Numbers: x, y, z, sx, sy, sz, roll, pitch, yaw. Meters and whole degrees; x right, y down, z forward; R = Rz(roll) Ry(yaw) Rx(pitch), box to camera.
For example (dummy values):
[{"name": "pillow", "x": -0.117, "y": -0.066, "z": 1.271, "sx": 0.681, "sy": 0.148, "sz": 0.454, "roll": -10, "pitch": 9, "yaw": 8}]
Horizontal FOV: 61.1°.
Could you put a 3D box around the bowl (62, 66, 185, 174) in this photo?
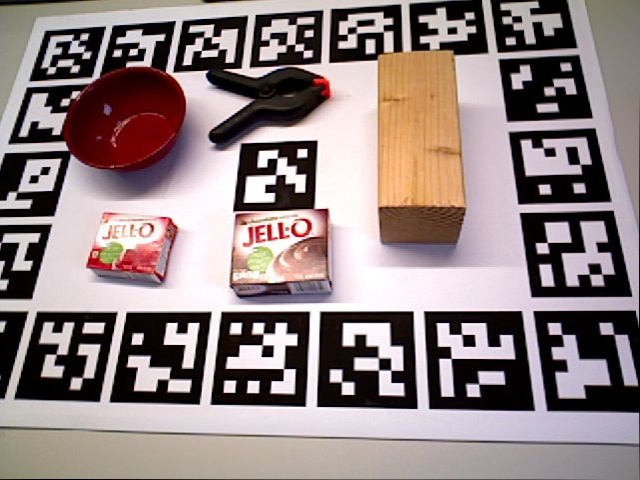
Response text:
[{"name": "bowl", "x": -0.246, "y": -0.144, "z": 0.704, "sx": 0.161, "sy": 0.056, "sz": 0.160, "roll": -3, "pitch": 68, "yaw": 5}]

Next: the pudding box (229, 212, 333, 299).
[{"name": "pudding box", "x": -0.042, "y": 0.018, "z": 0.606, "sx": 0.114, "sy": 0.039, "sz": 0.089, "roll": -3, "pitch": 69, "yaw": 9}]

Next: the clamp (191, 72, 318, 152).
[{"name": "clamp", "x": -0.084, "y": -0.180, "z": 0.711, "sx": 0.164, "sy": 0.037, "sz": 0.120, "roll": -10, "pitch": 64, "yaw": 1}]

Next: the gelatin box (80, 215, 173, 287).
[{"name": "gelatin box", "x": -0.226, "y": 0.012, "z": 0.636, "sx": 0.089, "sy": 0.030, "sz": 0.072, "roll": 6, "pitch": 68, "yaw": 10}]

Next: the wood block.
[{"name": "wood block", "x": 0.116, "y": -0.101, "z": 0.609, "sx": 0.090, "sy": 0.092, "sz": 0.204, "roll": 2, "pitch": 66, "yaw": 6}]
